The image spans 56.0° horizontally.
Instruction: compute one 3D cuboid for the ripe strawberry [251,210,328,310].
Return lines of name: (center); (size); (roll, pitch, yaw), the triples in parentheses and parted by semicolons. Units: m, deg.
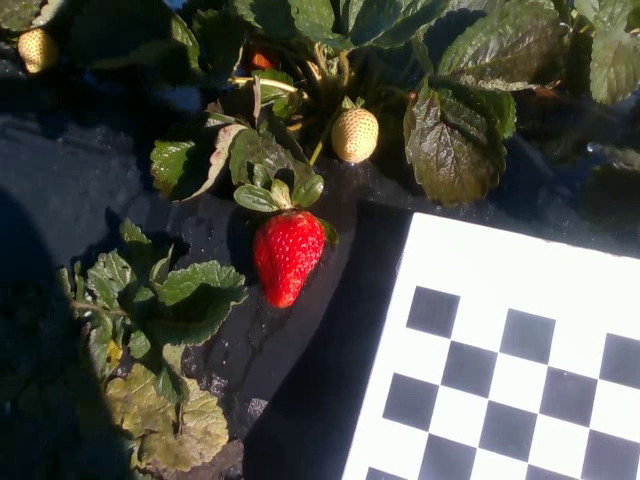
ripe strawberry: (-0.019, 0.012, 0.340); (0.048, 0.069, 0.040); (-4, -25, 8)
